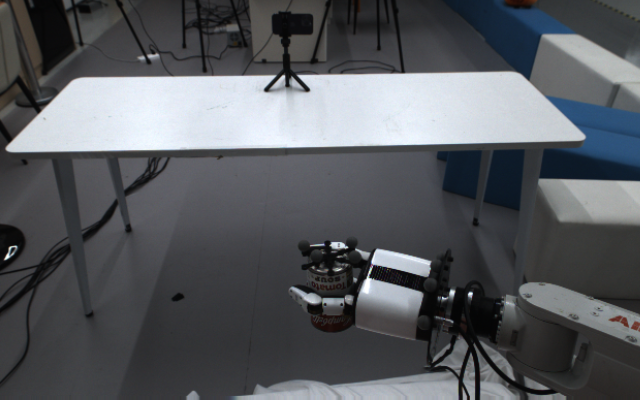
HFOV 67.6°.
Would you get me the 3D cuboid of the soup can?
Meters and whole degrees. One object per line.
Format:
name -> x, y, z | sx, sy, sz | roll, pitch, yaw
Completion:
soup can -> 0.017, 0.130, 0.700 | 0.067, 0.101, 0.067 | -3, 25, 2
